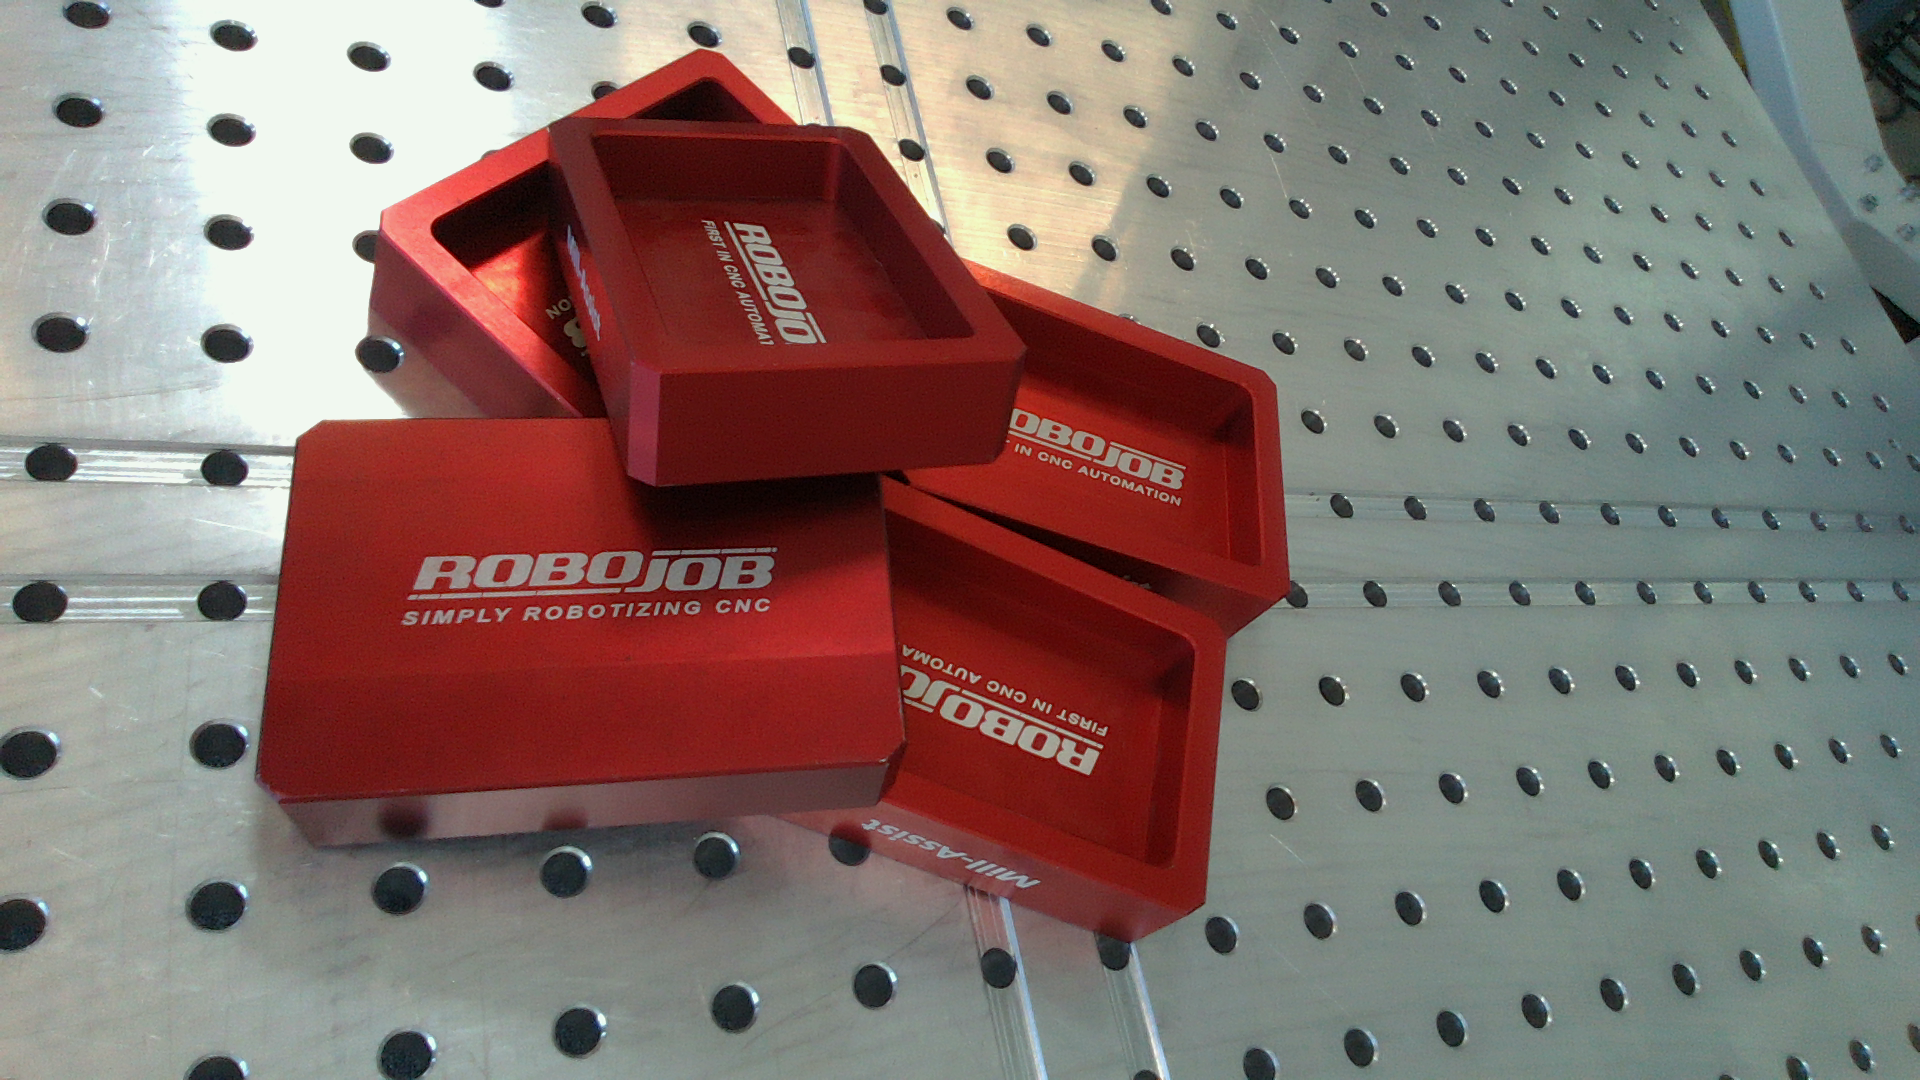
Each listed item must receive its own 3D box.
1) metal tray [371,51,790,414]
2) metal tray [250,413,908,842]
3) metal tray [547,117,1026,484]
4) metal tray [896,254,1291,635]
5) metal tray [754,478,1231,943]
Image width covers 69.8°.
[{"bbox_3d":[-0.084,-0.078,0.391,0.090,0.030,0.130,42,51,2],"label":"metal tray"},{"bbox_3d":[-0.082,0.017,0.313,0.130,0.030,0.090,-1,61,-12],"label":"metal tray"},{"bbox_3d":[-0.050,-0.066,0.348,0.090,0.030,0.130,-5,40,-22],"label":"metal tray"},{"bbox_3d":[0.038,-0.029,0.426,0.130,0.030,0.090,17,55,-19],"label":"metal tray"},{"bbox_3d":[0.007,0.042,0.366,0.130,0.030,0.090,23,54,-14],"label":"metal tray"}]
